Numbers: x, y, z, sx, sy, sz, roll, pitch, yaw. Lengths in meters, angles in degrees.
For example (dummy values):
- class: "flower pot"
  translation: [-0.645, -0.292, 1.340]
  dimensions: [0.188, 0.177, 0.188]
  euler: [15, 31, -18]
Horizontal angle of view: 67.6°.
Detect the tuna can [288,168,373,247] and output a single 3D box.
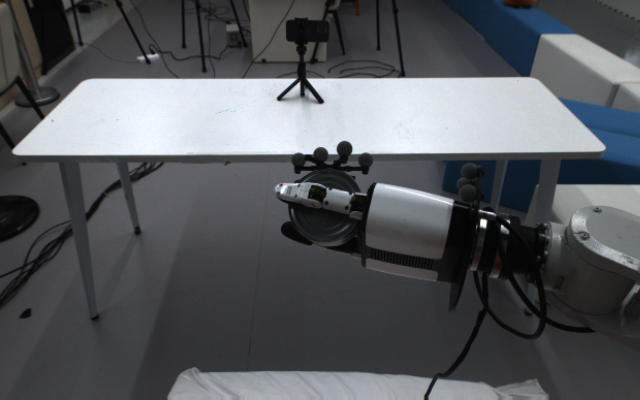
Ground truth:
- class: "tuna can"
  translation: [0.011, 0.013, 0.547]
  dimensions: [0.085, 0.034, 0.085]
  euler: [-4, 70, 11]
